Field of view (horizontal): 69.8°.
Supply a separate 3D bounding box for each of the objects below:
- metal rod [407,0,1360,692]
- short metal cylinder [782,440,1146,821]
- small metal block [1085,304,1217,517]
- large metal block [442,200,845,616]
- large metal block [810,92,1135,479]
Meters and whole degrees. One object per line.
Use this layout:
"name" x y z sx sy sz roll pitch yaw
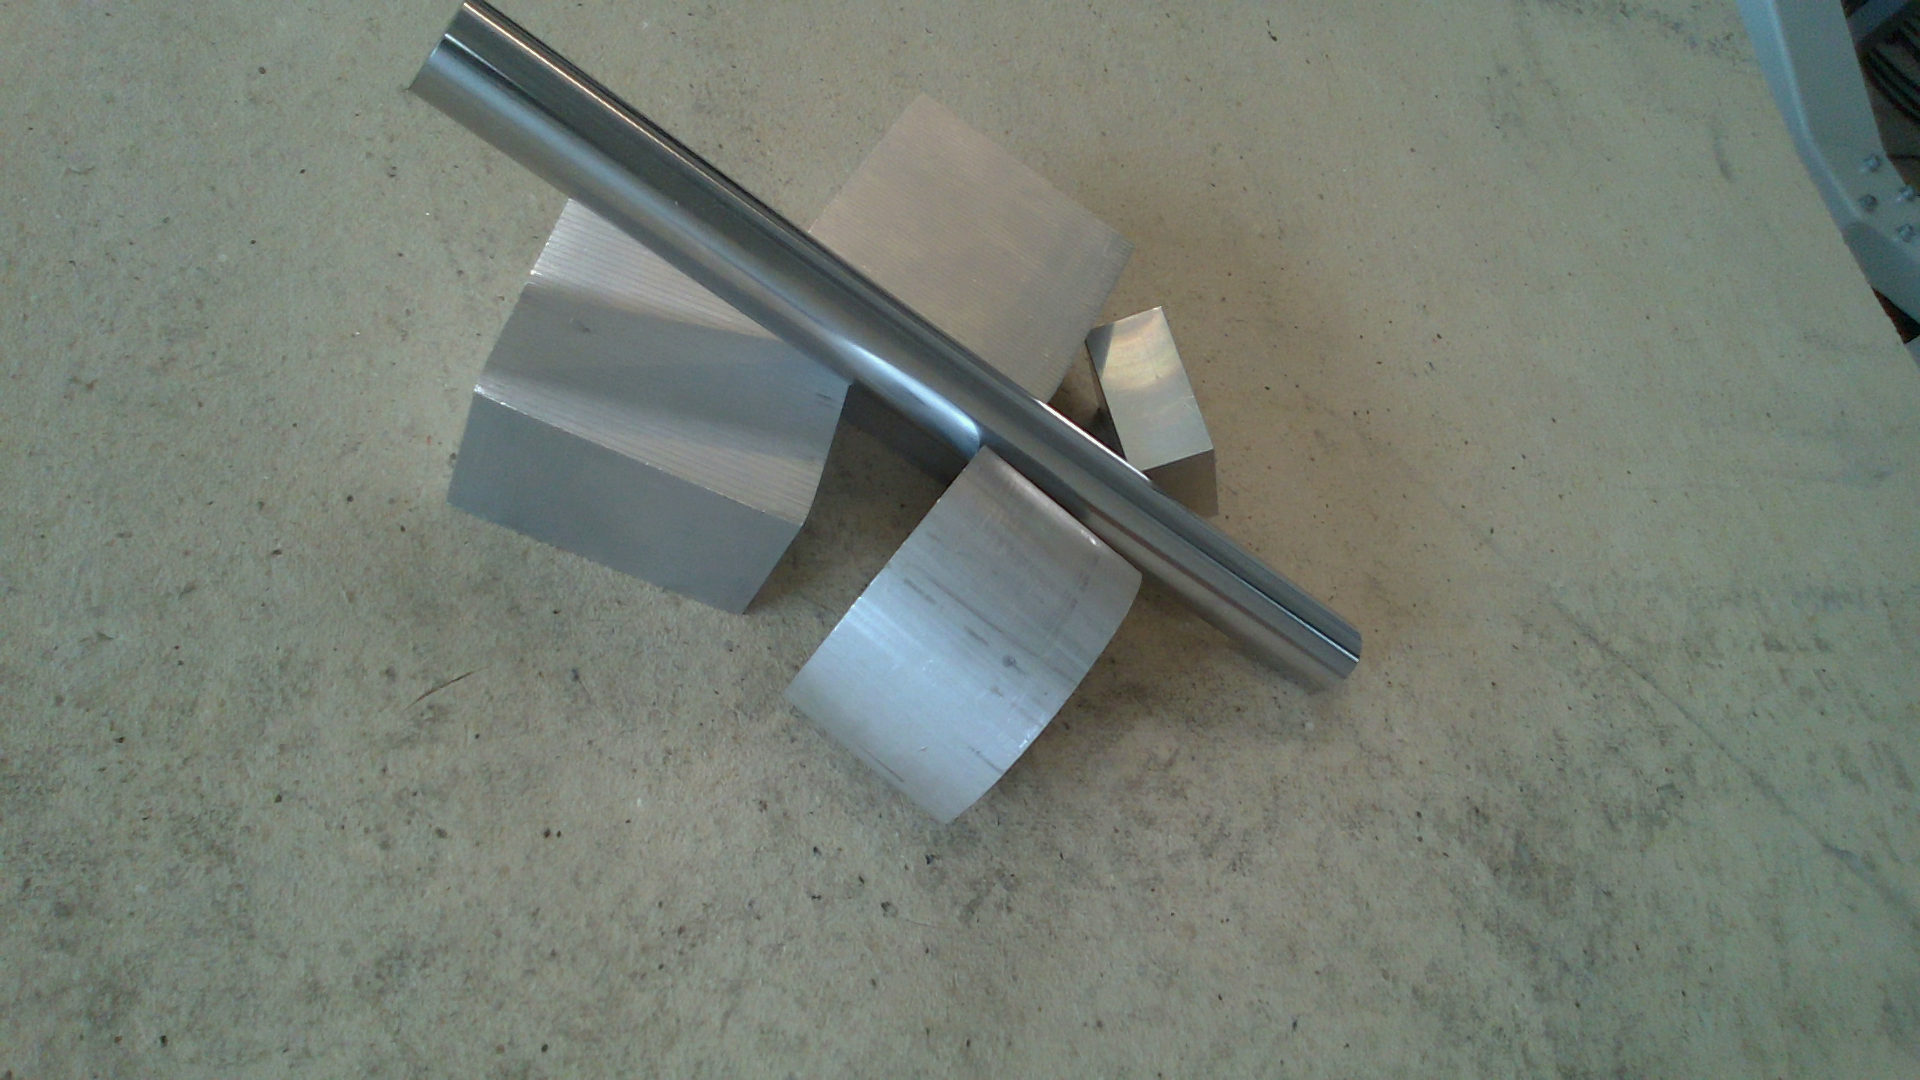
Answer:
"metal rod" 0.003 -0.035 0.360 0.301 0.025 0.025 32 49 -28
"short metal cylinder" 0.001 0.022 0.341 0.050 0.080 0.080 39 51 -1
"small metal block" 0.059 -0.035 0.424 0.025 0.050 0.050 -17 66 4
"large metal block" -0.076 -0.039 0.356 0.080 0.050 0.080 23 53 -15
"large metal block" -0.005 -0.074 0.413 0.080 0.050 0.080 34 51 -6
